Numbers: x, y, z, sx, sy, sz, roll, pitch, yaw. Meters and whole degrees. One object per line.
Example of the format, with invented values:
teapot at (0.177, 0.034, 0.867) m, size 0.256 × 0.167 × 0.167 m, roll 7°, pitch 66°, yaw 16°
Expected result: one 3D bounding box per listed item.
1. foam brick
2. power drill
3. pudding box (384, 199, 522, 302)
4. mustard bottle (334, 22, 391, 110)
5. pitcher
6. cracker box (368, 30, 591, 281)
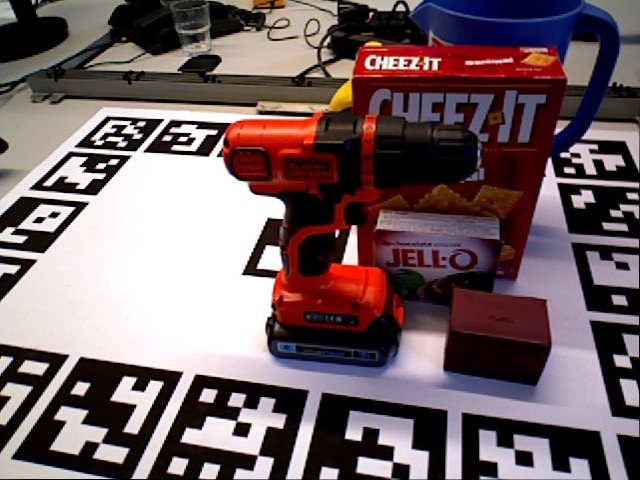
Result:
foam brick at (0.160, 0.081, 0.449) m, size 0.078 × 0.052 × 0.051 m, roll 6°, pitch 44°, yaw 13°
power drill at (0.038, -0.008, 0.406) m, size 0.184 × 0.191 × 0.056 m, roll 5°, pitch 39°, yaw 10°
pudding box at (0.114, 0.010, 0.484) m, size 0.114 × 0.092 × 0.038 m, roll 4°, pitch 40°, yaw 14°
mustard bottle at (0.062, -0.130, 0.575) m, size 0.096 × 0.195 × 0.057 m, roll 15°, pitch 46°, yaw 20°
pitcher at (0.192, -0.129, 0.541) m, size 0.189 × 0.247 × 0.130 m, roll 8°, pitch 43°, yaw 17°
cracker box at (0.128, -0.062, 0.481) m, size 0.164 × 0.218 × 0.070 m, roll 2°, pitch 40°, yaw 11°
